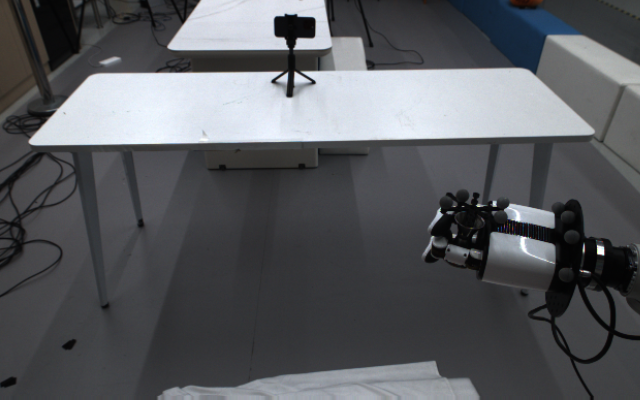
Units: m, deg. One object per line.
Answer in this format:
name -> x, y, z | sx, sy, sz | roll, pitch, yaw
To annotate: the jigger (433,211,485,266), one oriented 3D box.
jigger -> 0.203, 0.054, 0.677 | 0.043, 0.071, 0.043 | 4, 31, -2
